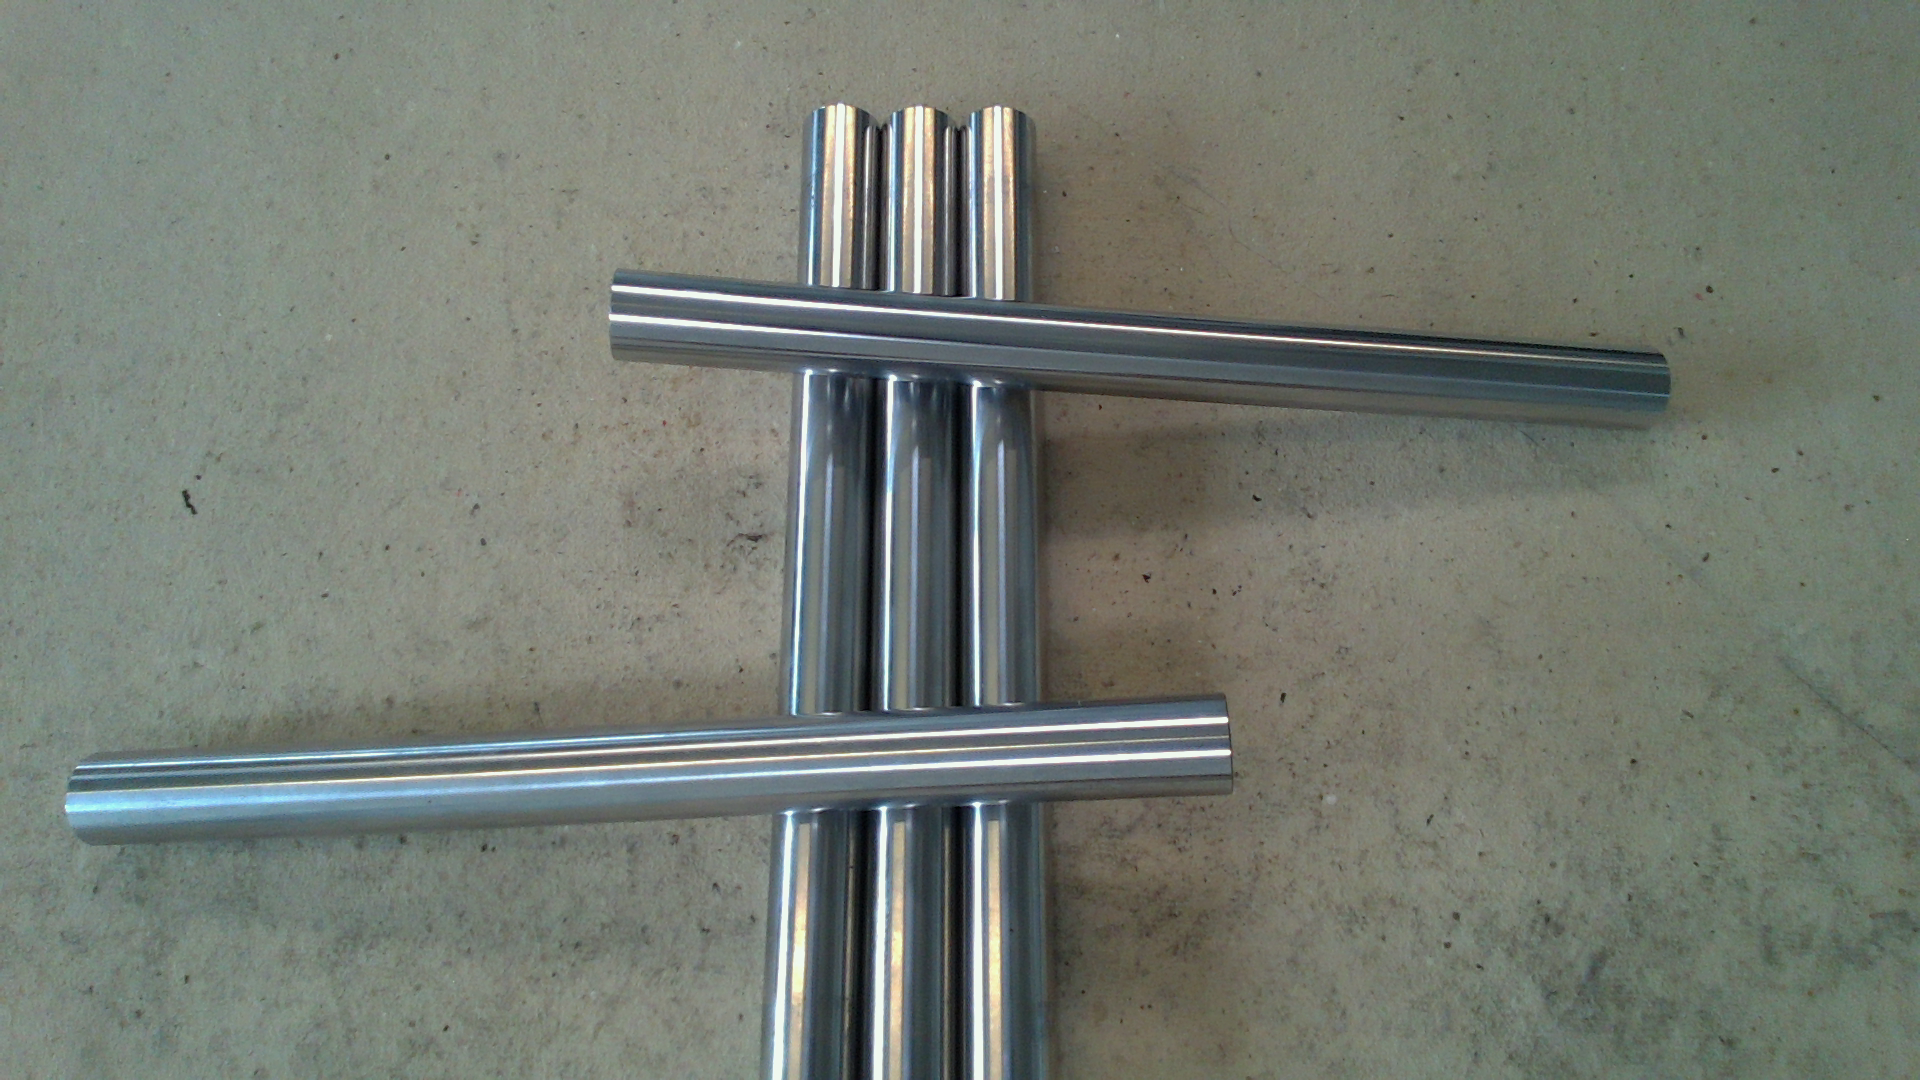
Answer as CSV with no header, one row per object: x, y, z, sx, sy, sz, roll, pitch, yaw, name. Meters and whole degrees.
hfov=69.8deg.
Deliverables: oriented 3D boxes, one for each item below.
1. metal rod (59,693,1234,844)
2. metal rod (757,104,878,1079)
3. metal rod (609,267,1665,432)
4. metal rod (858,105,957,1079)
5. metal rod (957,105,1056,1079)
-0.083,0.059,0.352,0.300,0.025,0.025,-4,70,6,metal rod
-0.038,0.009,0.391,0.025,0.025,0.300,0,70,0,metal rod
0.055,-0.053,0.394,0.300,0.025,0.025,3,70,-7,metal rod
-0.013,0.009,0.391,0.025,0.025,0.300,0,70,0,metal rod
0.012,0.009,0.391,0.025,0.025,0.300,0,70,0,metal rod
